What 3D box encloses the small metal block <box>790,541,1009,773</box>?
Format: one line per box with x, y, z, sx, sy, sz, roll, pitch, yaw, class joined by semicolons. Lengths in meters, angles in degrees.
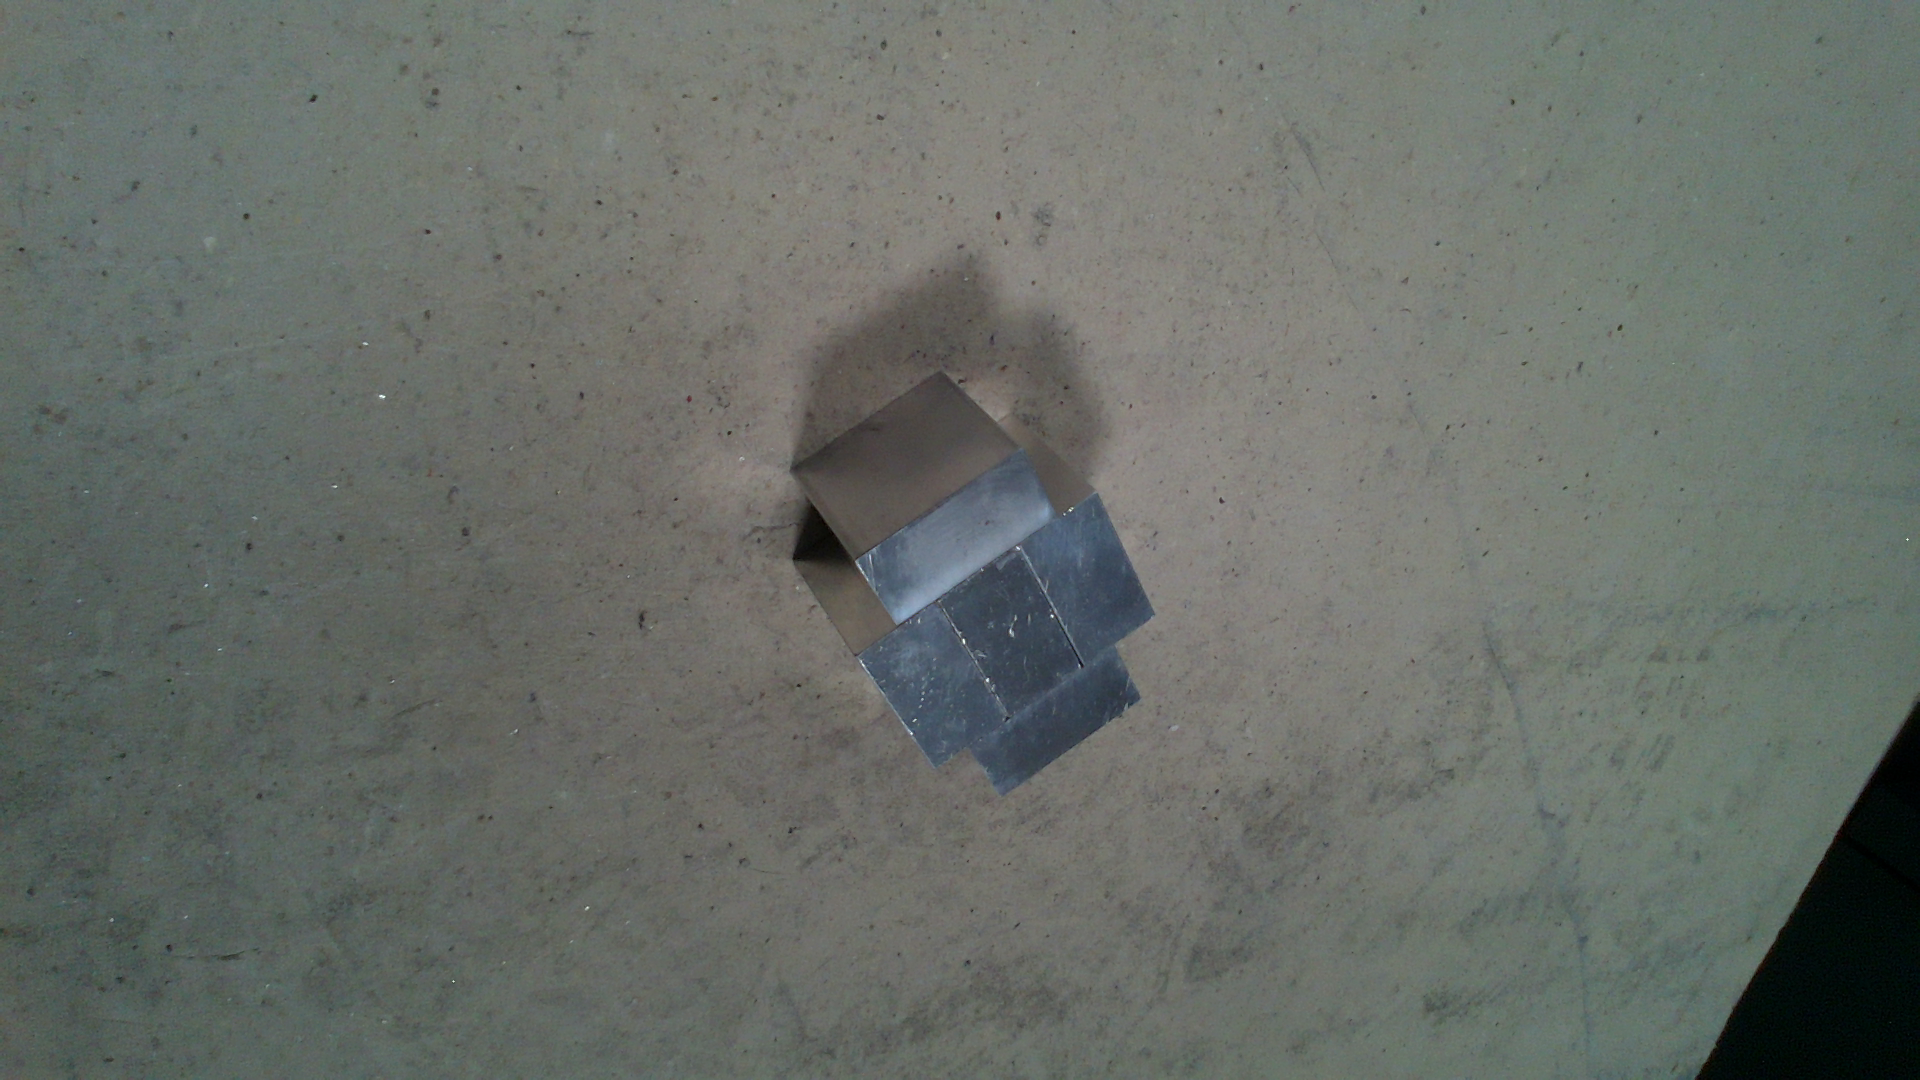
-0.017;0.028;0.380;0.025;0.050;0.050;-35;129;-5;small metal block

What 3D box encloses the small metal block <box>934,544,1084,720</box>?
0.004;0.014;0.383;0.025;0.050;0.050;-35;129;-5;small metal block

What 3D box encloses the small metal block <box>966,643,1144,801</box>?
0.017;0.040;0.406;0.050;0.050;0.025;-34;129;-6;small metal block

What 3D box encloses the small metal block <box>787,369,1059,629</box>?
-0.011;-0.012;0.359;0.050;0.050;0.025;-34;129;-6;small metal block

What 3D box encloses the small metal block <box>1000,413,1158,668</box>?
0.025;0.000;0.386;0.025;0.050;0.050;-35;129;-5;small metal block
